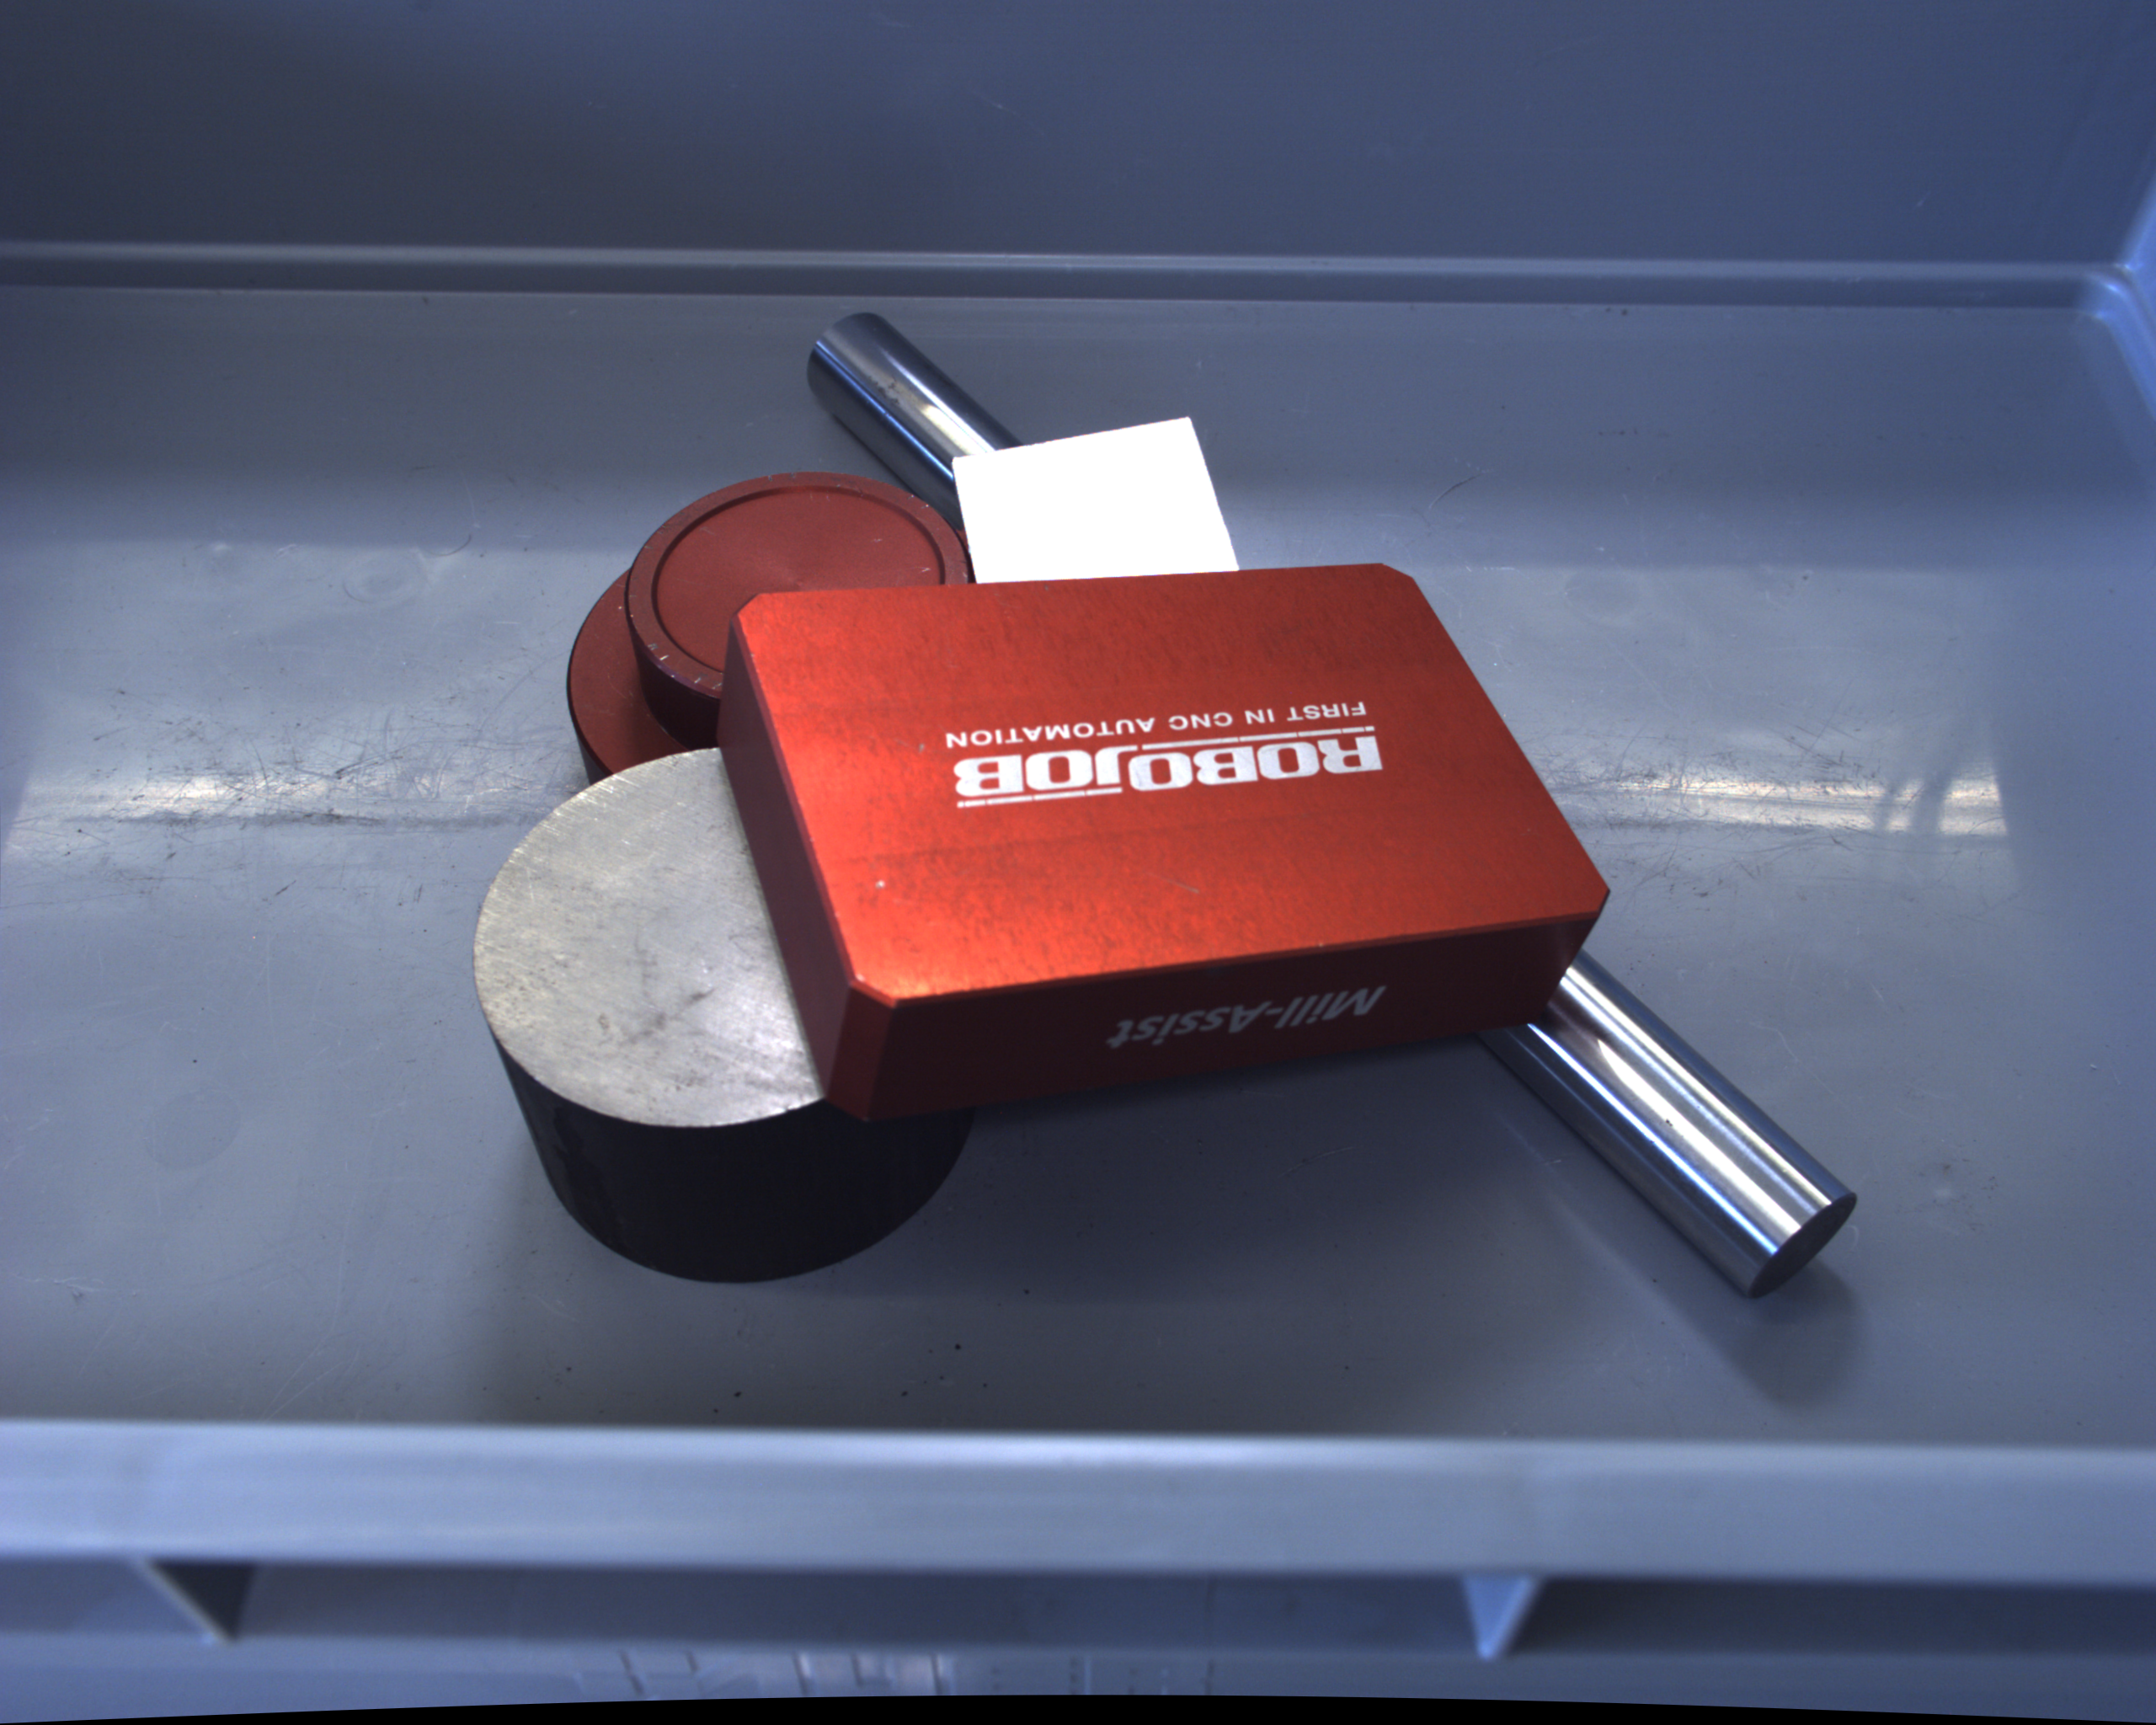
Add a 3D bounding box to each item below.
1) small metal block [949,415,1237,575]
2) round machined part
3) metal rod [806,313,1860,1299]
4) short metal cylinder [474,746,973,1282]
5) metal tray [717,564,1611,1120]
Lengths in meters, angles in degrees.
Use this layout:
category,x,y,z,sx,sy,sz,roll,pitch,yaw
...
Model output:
category,x,y,z,sx,sy,sz,roll,pitch,yaw
small metal block,0.004,-0.061,0.423,0.050,0.025,0.050,-11,53,-3
round machined part,-0.055,-0.044,0.426,0.099,0.042,0.098,-1,50,1
metal rod,0.034,-0.029,0.427,0.025,0.025,0.300,-29,56,-22
short metal cylinder,-0.059,0.025,0.364,0.081,0.050,0.080,0,50,0
metal tray,0.013,-0.009,0.357,0.131,0.030,0.090,-6,49,-22
